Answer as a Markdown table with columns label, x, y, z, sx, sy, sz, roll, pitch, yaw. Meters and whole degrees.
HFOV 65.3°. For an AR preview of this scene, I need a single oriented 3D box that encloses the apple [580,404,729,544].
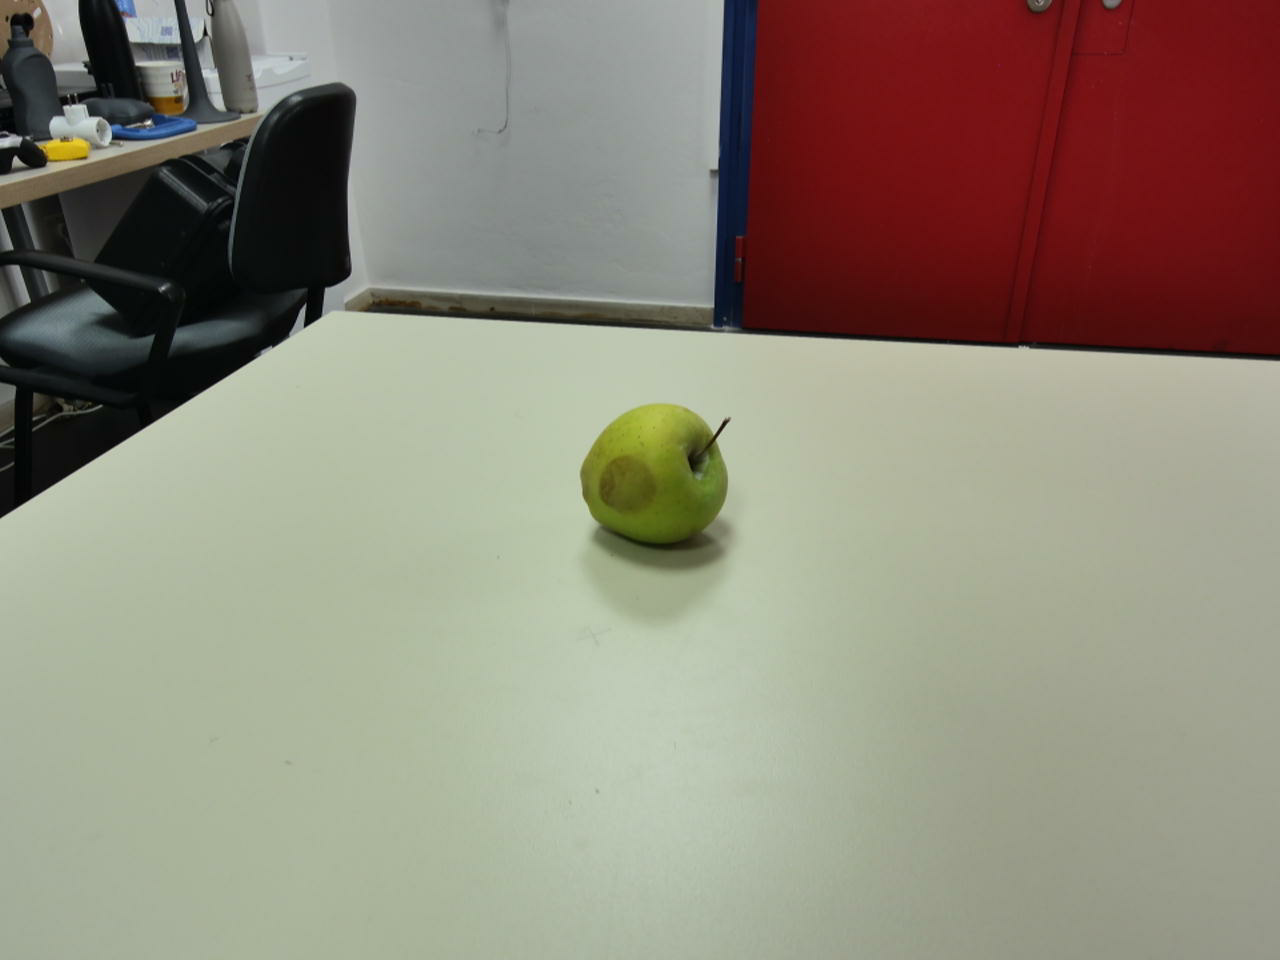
| label | x | y | z | sx | sy | sz | roll | pitch | yaw |
| --- | --- | --- | --- | --- | --- | --- | --- | --- | --- |
| apple | 0.009 | -0.005 | 0.538 | 0.072 | 0.075 | 0.077 | -16 | 30 | -30 |
